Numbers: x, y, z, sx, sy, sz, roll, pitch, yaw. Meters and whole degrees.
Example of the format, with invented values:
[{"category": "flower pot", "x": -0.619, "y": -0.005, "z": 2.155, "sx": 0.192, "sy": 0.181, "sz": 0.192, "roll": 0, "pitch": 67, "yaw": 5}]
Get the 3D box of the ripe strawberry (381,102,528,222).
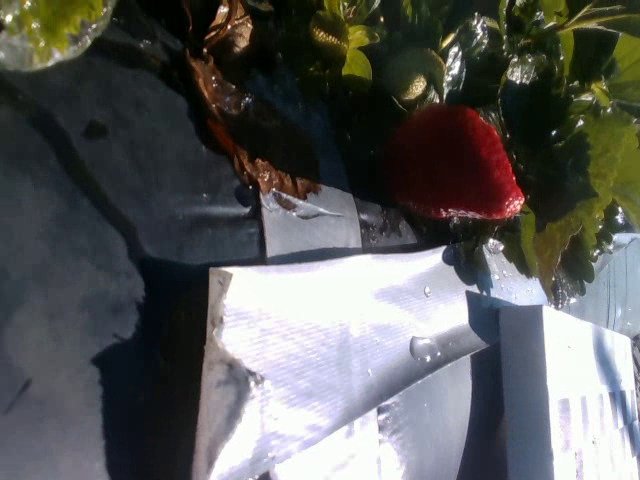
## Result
[{"category": "ripe strawberry", "x": 0.059, "y": -0.021, "z": 0.241, "sx": 0.057, "sy": 0.062, "sz": 0.065, "roll": -34, "pitch": 37, "yaw": -3}]
